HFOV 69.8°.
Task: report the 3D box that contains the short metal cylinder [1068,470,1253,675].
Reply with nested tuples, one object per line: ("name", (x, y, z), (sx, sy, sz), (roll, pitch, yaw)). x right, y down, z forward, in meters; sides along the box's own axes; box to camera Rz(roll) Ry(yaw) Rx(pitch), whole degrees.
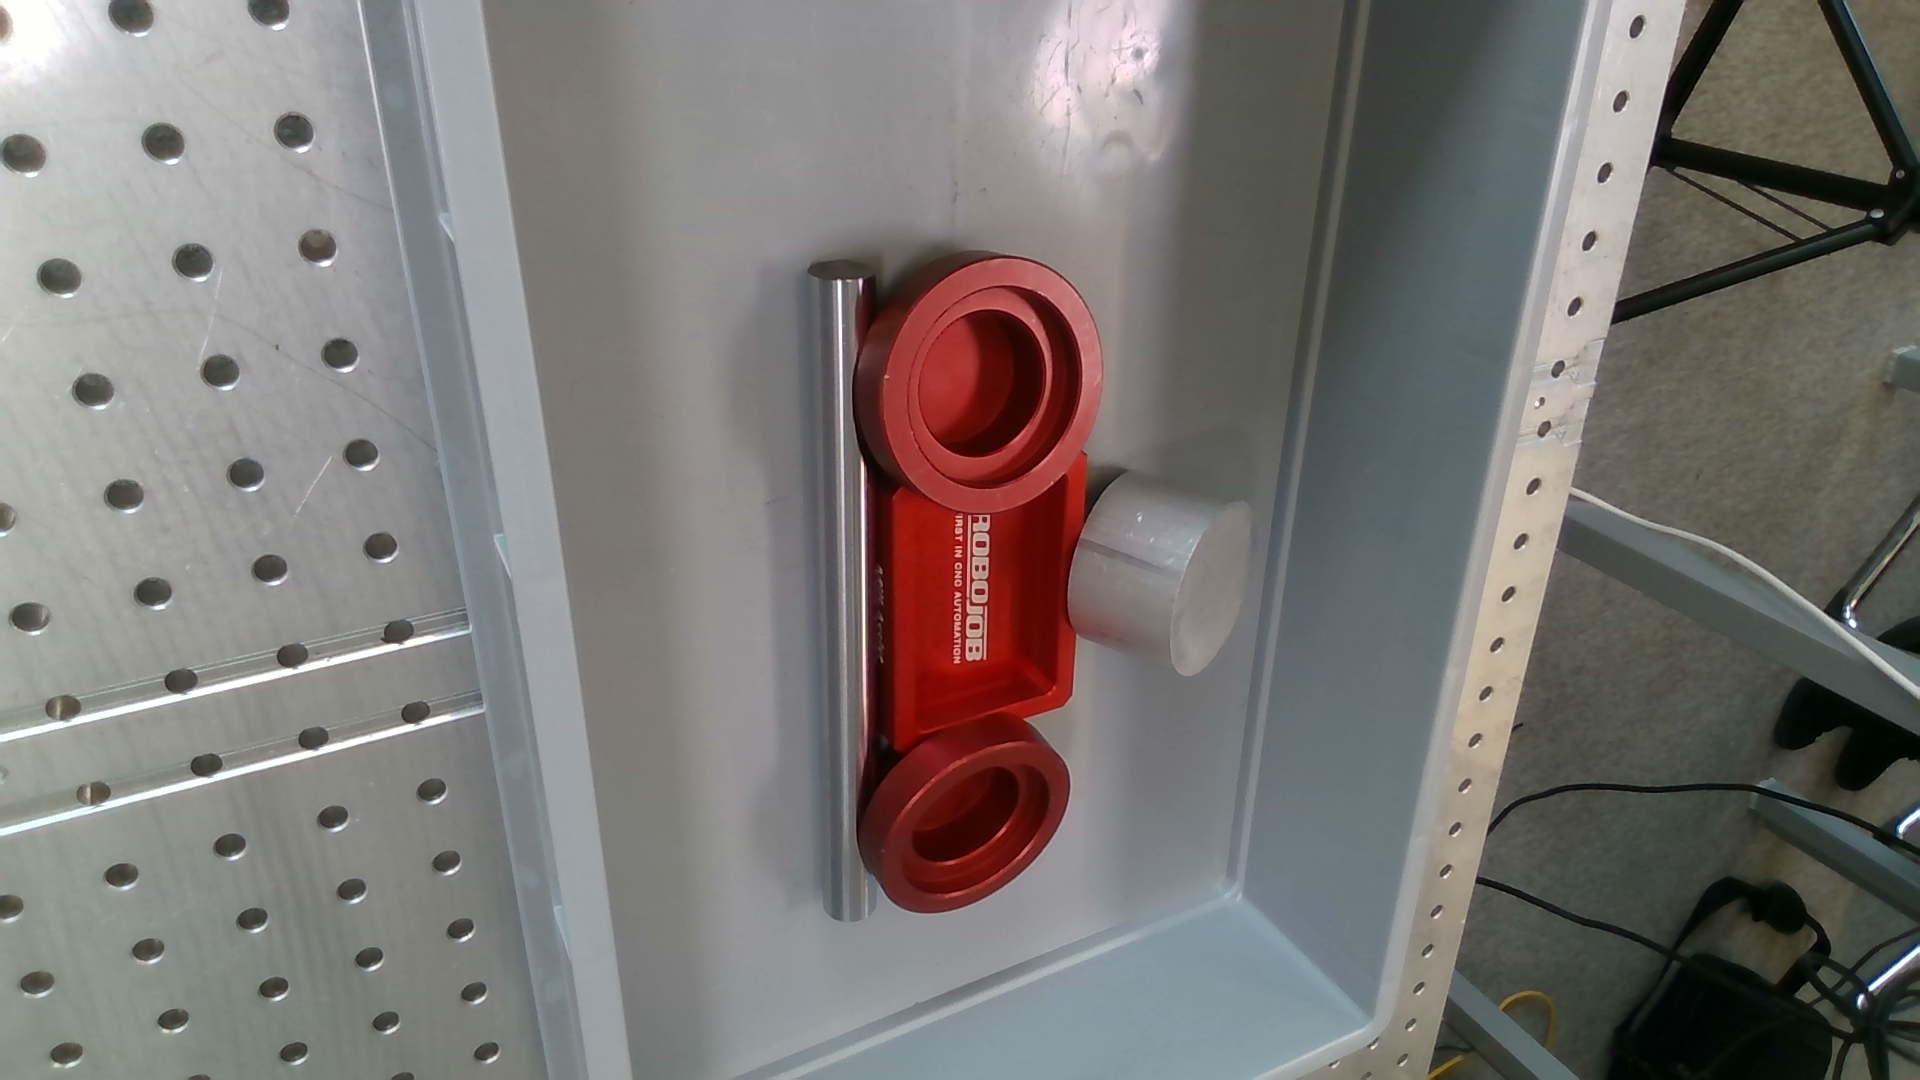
("short metal cylinder", (0.090, 0.014, 0.607), (0.080, 0.050, 0.080), (-34, 133, -46))

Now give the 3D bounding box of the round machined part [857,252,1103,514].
("round machined part", (0.004, -0.063, 0.531), (0.098, 0.042, 0.098), (-11, 112, -29))

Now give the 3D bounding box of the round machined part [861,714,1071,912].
("round machined part", (-0.002, 0.118, 0.625), (0.098, 0.042, 0.098), (-19, 131, -23))

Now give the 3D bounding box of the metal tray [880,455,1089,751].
("metal tray", (0.006, 0.021, 0.591), (0.090, 0.030, 0.130), (-13, 122, -25))

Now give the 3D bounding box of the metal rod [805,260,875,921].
("metal rod", (-0.047, 0.035, 0.569), (0.025, 0.025, 0.301), (-13, 121, -26))
